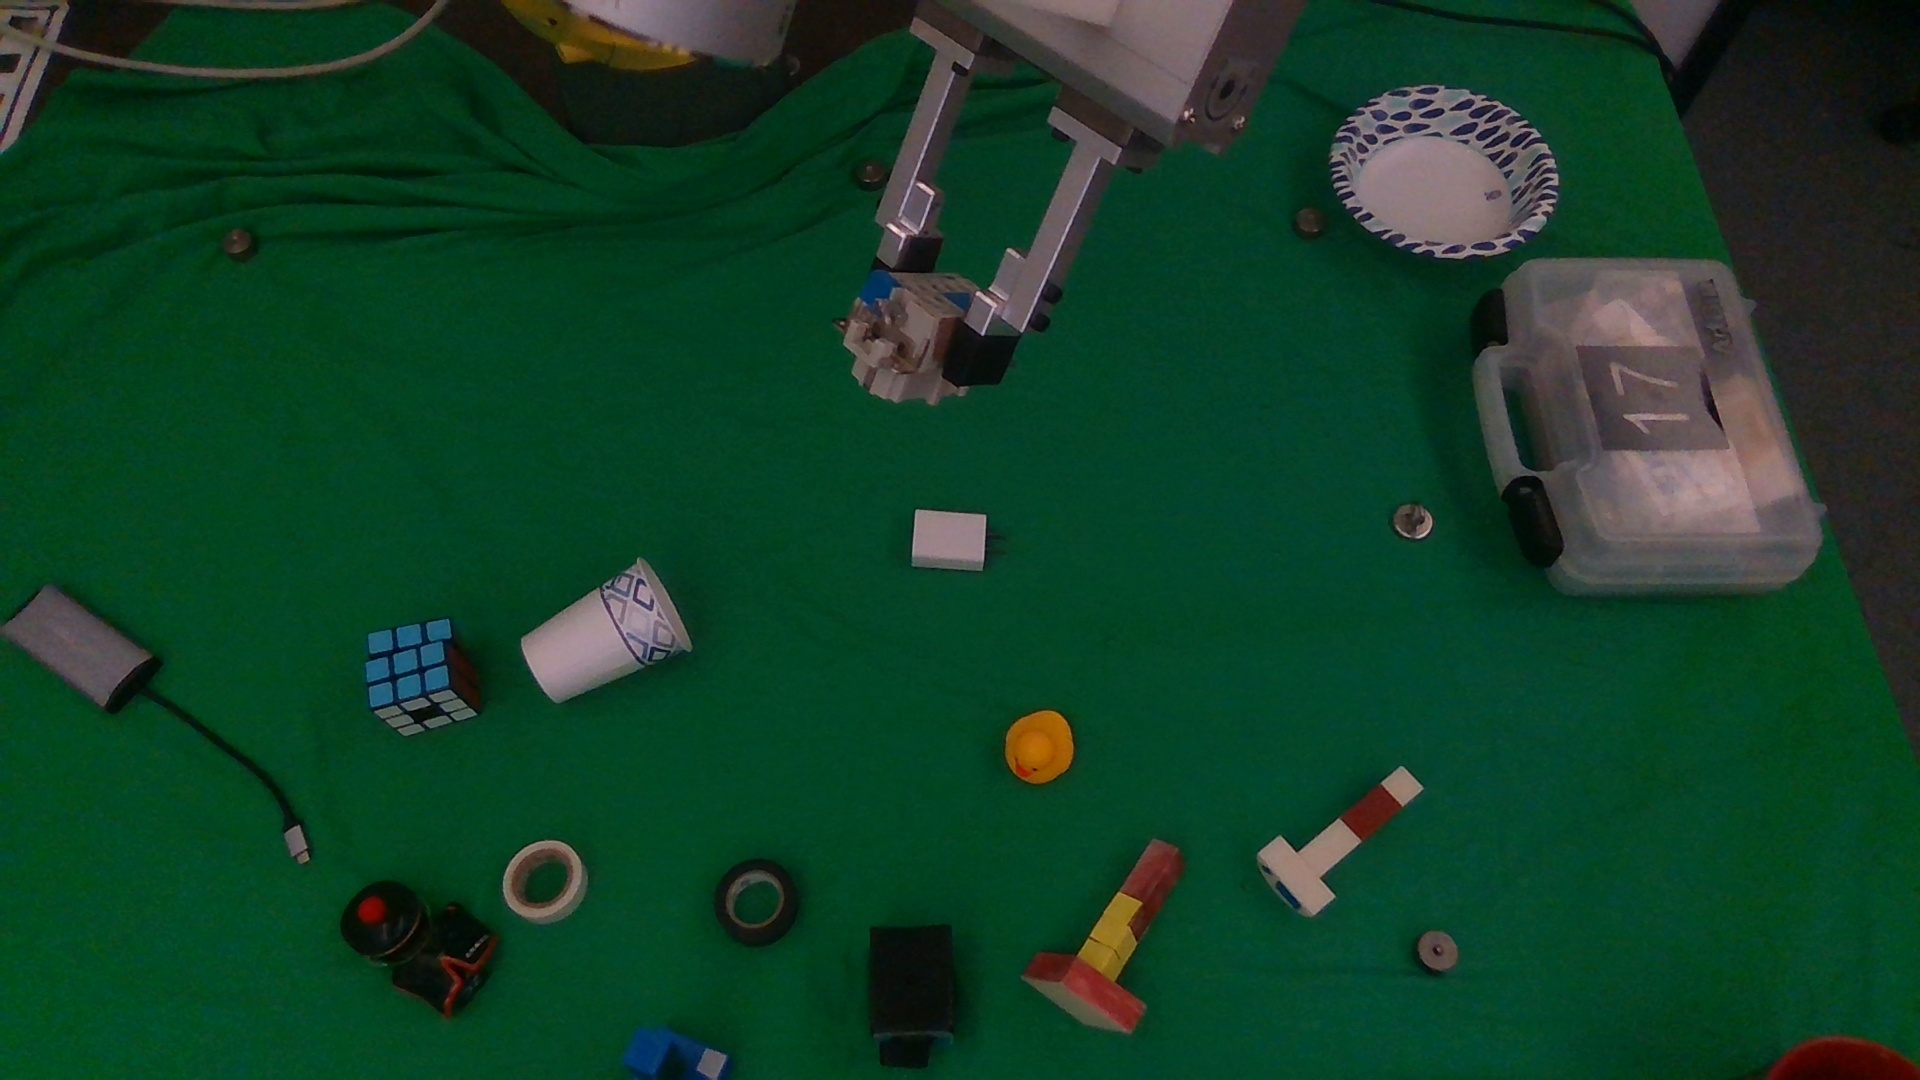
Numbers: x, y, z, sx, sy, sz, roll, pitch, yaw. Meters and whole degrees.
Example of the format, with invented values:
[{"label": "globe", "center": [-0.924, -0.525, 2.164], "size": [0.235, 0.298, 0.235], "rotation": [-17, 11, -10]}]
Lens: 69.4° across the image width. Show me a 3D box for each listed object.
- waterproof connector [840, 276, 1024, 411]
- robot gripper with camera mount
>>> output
[{"label": "waterproof connector", "center": [-0.008, -0.065, 0.464], "size": [0.035, 0.037, 0.065], "rotation": [37, 29, 28]}, {"label": "robot gripper with camera mount", "center": [-0.033, -0.110, 0.365], "size": [0.119, 0.159, 0.192], "rotation": [42, 34, 26]}]
